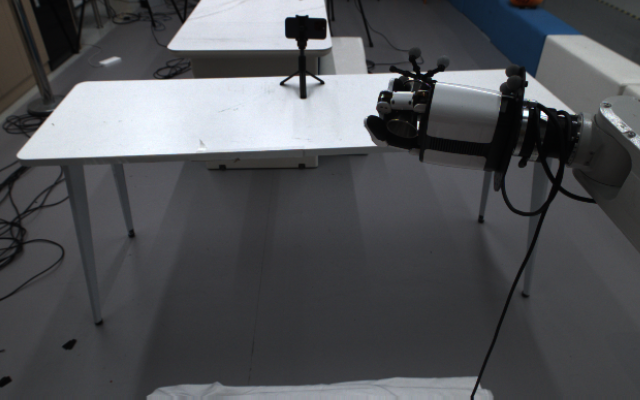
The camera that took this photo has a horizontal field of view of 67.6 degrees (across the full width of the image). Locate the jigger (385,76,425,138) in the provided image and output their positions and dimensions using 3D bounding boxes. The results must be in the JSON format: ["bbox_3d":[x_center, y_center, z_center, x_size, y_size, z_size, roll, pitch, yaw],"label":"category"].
[{"bbox_3d":[0.121,-0.127,0.654,0.043,0.043,0.071,16,70,19],"label":"jigger"}]
